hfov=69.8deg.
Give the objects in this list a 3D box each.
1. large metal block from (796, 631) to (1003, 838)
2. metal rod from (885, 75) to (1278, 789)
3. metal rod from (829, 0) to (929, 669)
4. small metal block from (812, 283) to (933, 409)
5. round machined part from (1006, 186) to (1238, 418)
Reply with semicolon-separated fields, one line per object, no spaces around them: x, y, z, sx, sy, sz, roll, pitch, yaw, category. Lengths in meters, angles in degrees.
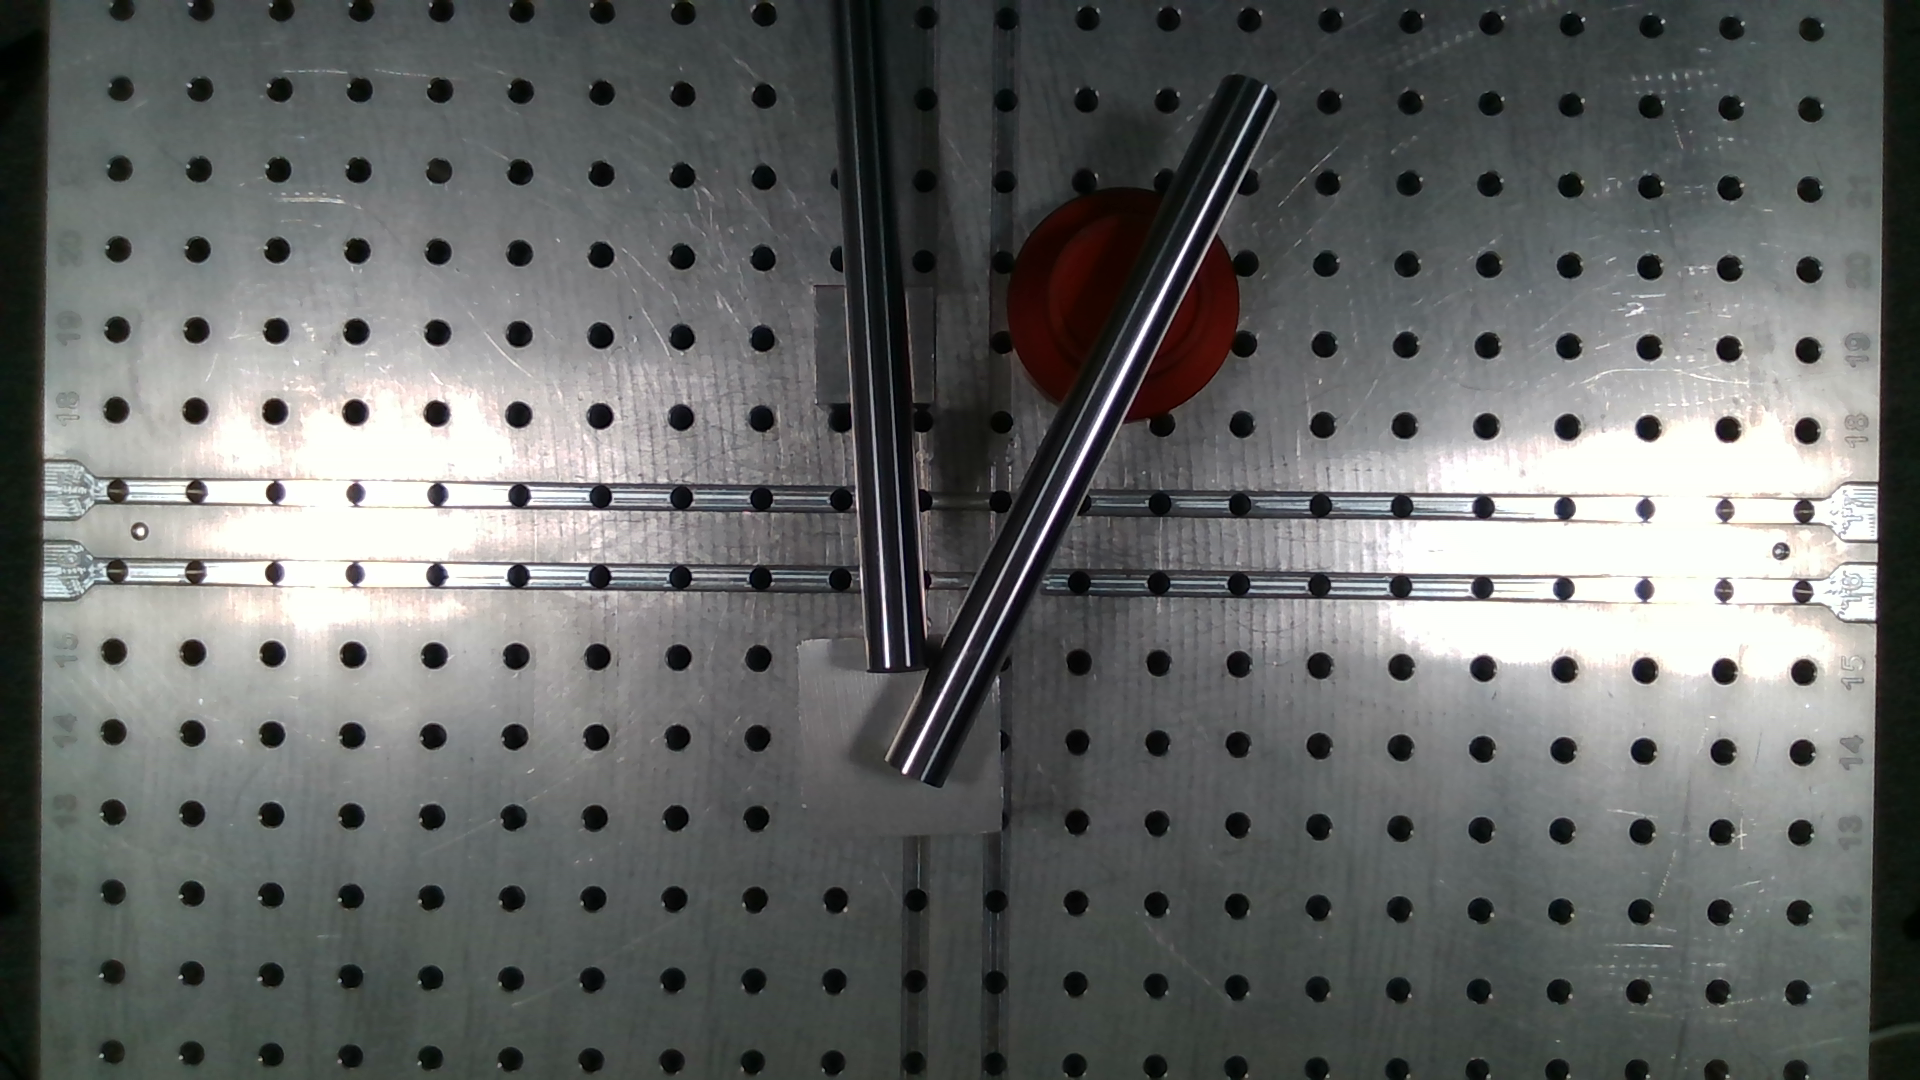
-0.024;0.078;0.575;0.080;0.050;0.080;-2;90;0;large metal block
0.048;-0.043;0.541;0.025;0.025;0.300;26;88;0;metal rod
-0.034;-0.097;0.561;0.025;0.025;0.300;-4;80;0;metal rod
-0.037;-0.083;0.589;0.050;0.025;0.050;0;90;0;small metal block
0.069;-0.100;0.580;0.098;0.042;0.098;0;90;0;round machined part
